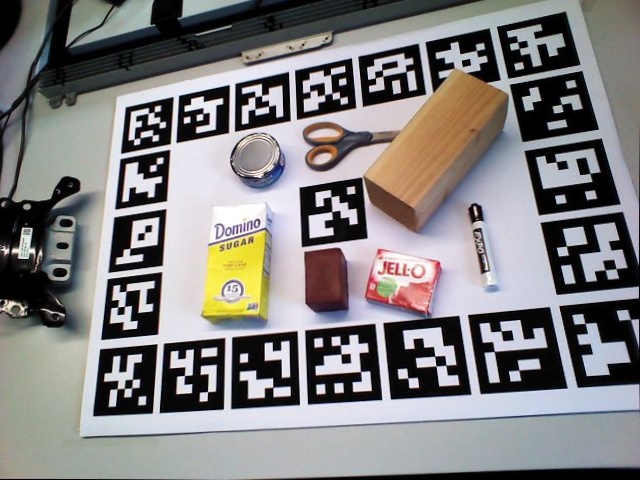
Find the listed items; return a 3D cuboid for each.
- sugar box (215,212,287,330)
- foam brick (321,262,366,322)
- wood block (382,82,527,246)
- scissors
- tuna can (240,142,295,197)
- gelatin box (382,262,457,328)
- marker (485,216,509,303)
[{"bbox_3d":[-0.103,0.047,0.792,0.093,0.045,0.175,-3,71,14],"label":"sugar box"},{"bbox_3d":[0.033,0.075,0.734,0.053,0.051,0.077,-6,71,14],"label":"foam brick"},{"bbox_3d":[0.193,-0.106,0.738,0.090,0.091,0.206,38,84,25],"label":"wood block"},{"bbox_3d":[0.086,-0.140,0.818,0.204,0.016,0.087,-1,71,18],"label":"scissors"},{"bbox_3d":[-0.084,-0.114,0.845,0.086,0.034,0.085,-5,71,14],"label":"tuna can"},{"bbox_3d":[0.138,0.075,0.720,0.090,0.030,0.073,11,76,20],"label":"gelatin box"},{"bbox_3d":[0.243,0.025,0.711,0.020,0.019,0.120,-6,72,14],"label":"marker"}]
